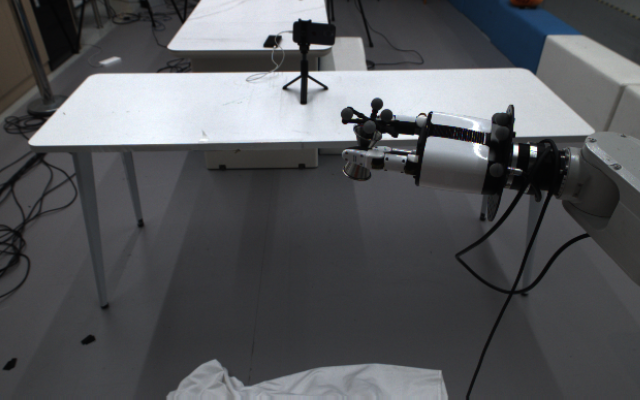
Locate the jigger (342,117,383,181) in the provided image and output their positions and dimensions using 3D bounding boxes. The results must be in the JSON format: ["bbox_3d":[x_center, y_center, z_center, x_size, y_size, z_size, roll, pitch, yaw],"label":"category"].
[{"bbox_3d":[0.060,-0.068,0.698,0.043,0.071,0.043,10,36,-7],"label":"jigger"}]
